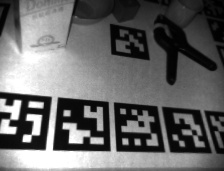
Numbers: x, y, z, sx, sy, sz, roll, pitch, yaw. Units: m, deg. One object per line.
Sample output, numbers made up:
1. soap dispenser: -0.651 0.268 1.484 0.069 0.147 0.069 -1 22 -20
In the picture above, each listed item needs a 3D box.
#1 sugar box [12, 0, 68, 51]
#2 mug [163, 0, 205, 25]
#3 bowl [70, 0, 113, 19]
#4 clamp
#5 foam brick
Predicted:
1. sugar box: -0.135 -0.137 0.403 0.094 0.176 0.045 -17 71 -26
2. mug: 0.198 -0.237 0.624 0.117 0.081 0.093 31 58 -5
3. bowl: -0.081 -0.218 0.535 0.163 0.055 0.161 9 61 -16
4. clamp: 0.163 -0.120 0.573 0.167 0.036 0.201 -16 71 -23
5. foam brick: 0.029 -0.225 0.586 0.053 0.051 0.077 -20 72 -25
